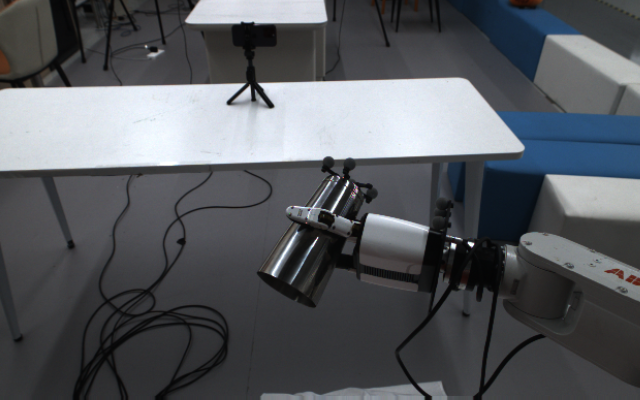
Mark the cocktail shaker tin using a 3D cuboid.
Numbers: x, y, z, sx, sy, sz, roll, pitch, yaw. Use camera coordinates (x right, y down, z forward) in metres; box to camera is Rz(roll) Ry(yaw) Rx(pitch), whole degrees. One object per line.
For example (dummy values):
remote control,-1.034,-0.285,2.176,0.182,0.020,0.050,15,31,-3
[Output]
cocktail shaker tin,-0.003,0.048,0.672,0.093,0.093,0.170,20,67,24
